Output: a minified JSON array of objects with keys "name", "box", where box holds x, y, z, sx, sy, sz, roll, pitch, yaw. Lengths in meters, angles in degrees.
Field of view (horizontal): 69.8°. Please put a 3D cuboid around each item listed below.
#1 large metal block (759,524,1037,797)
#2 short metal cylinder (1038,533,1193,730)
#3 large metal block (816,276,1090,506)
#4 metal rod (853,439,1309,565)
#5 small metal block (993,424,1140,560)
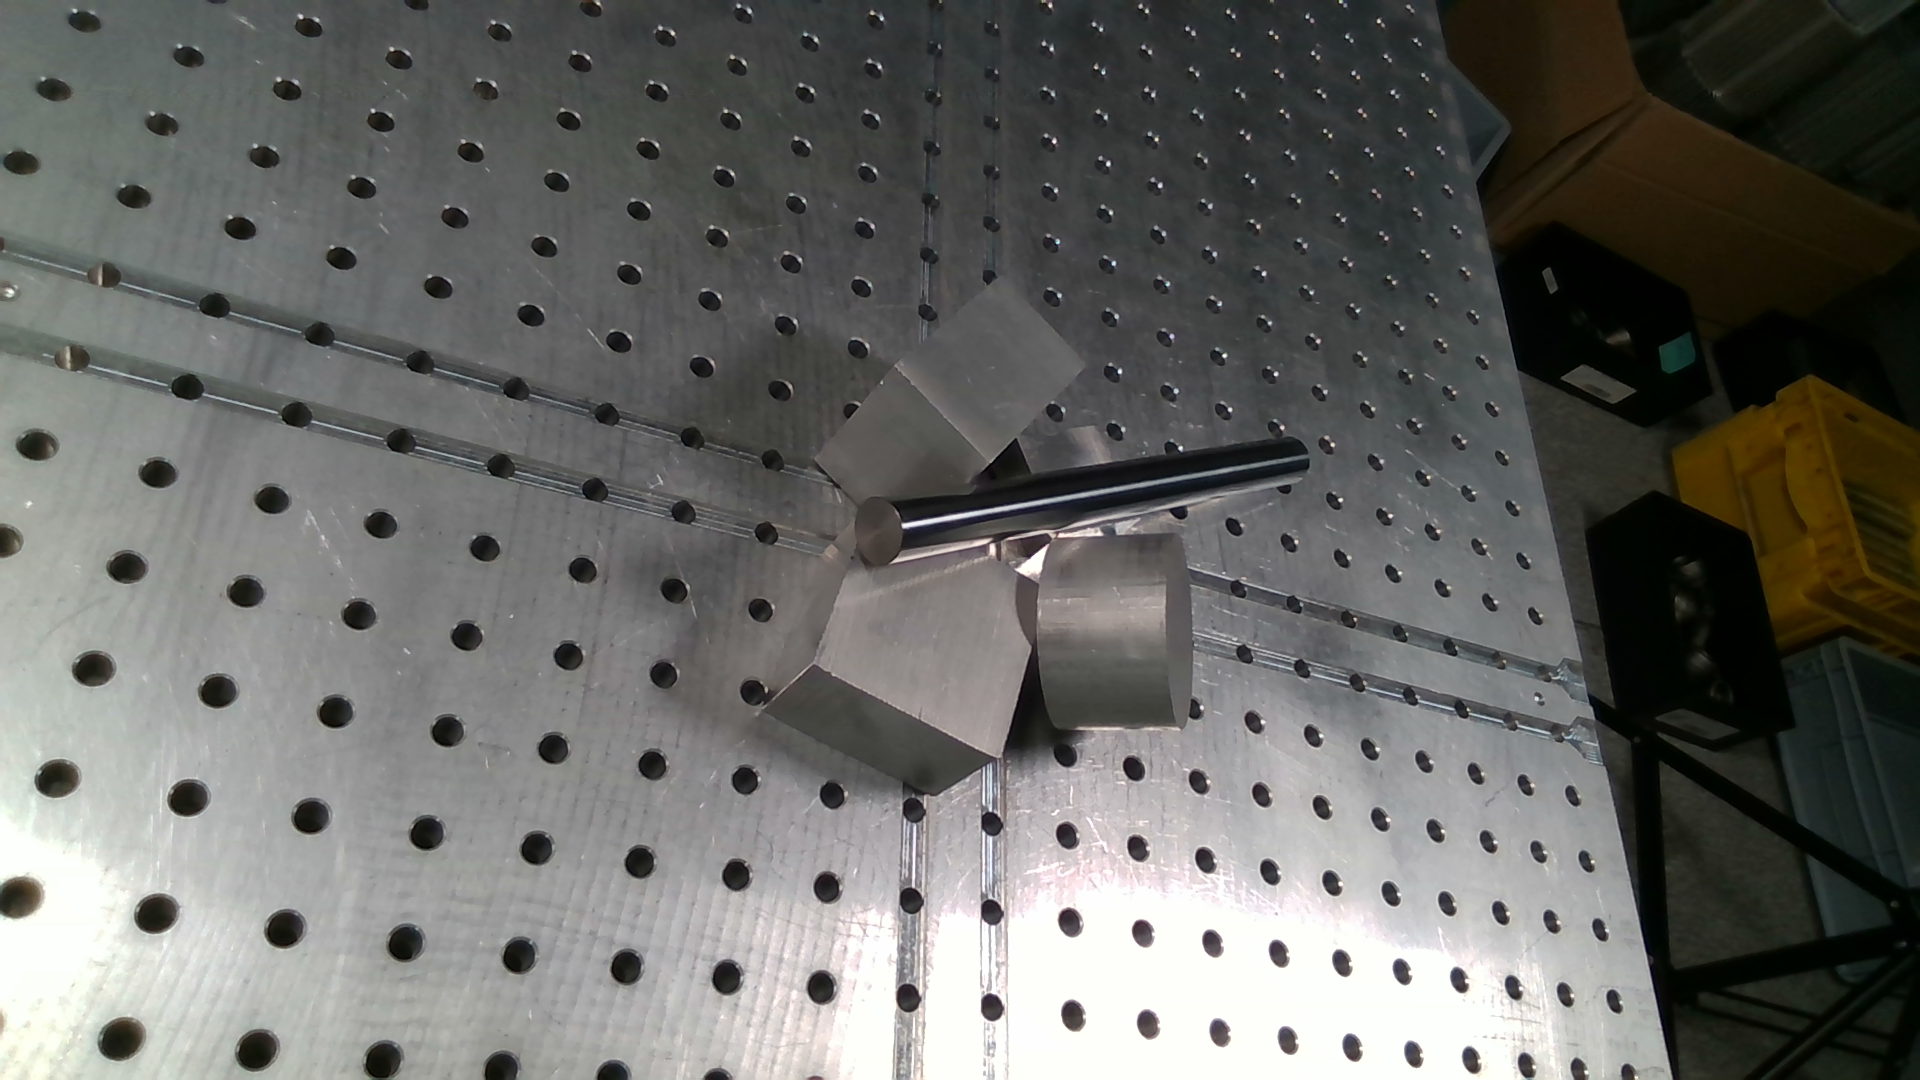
[{"name":"large metal block","box":[-0.020,0.042,0.537,0.080,0.050,0.080,30,53,-15]},{"name":"short metal cylinder","box":[0.066,0.038,0.565,0.050,0.080,0.080,-2,56,16]},{"name":"large metal block","box":[-0.003,-0.052,0.579,0.050,0.080,0.080,45,51,-3]},{"name":"metal rod","box":[0.070,-0.022,0.605,0.300,0.025,0.025,-10,71,-47]},{"name":"small metal block","box":[0.048,-0.022,0.631,0.050,0.025,0.050,-11,72,-35]}]
